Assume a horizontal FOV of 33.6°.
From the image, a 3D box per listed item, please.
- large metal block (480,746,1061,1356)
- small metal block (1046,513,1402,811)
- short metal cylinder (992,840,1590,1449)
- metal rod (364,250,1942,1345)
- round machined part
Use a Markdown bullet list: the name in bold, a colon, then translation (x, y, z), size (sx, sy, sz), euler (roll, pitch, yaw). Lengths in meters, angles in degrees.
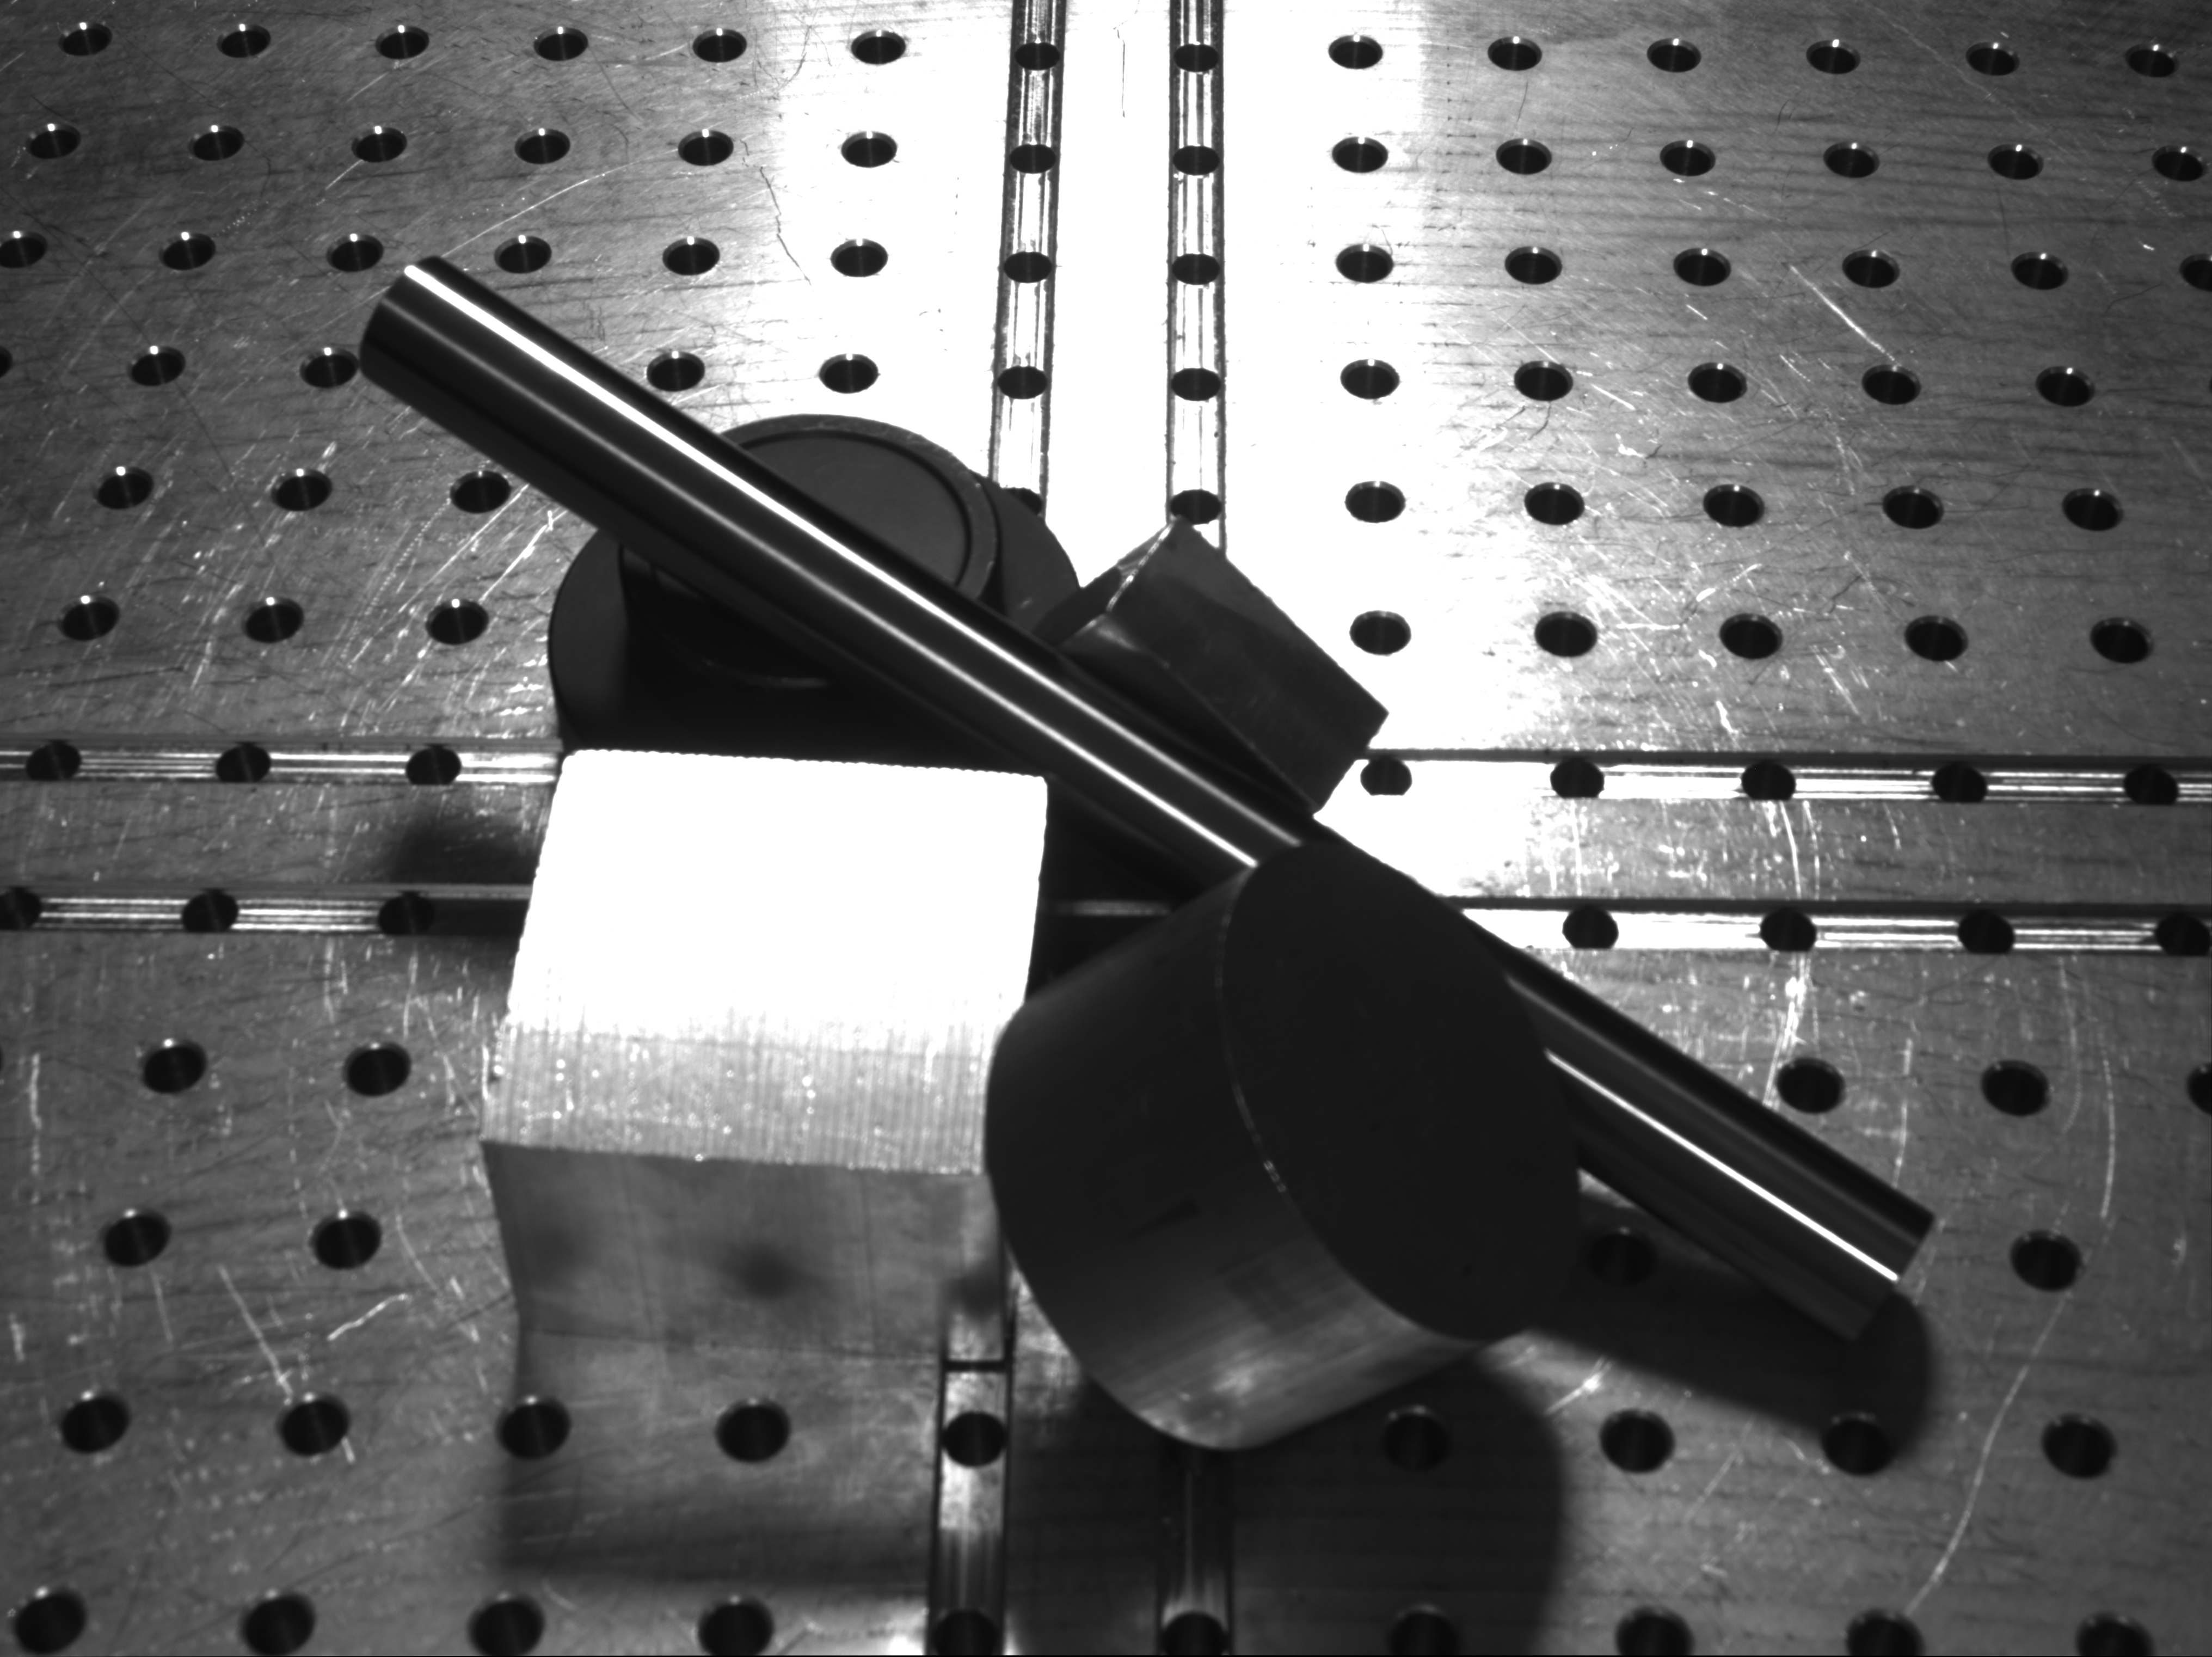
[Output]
- **large metal block**: translation (-0.051, 0.035, 0.596), size (0.080, 0.050, 0.080), euler (4, 50, 3)
- **small metal block**: translation (0.014, -0.021, 0.634), size (0.050, 0.050, 0.025), euler (42, 58, -10)
- **short metal cylinder**: translation (0.029, 0.049, 0.560), size (0.080, 0.050, 0.080), euler (30, 45, -35)
- **metal rod**: translation (0.003, -0.009, 0.610), size (0.300, 0.025, 0.025), euler (33, 56, 10)
- **round machined part**: translation (-0.051, -0.037, 0.665), size (0.098, 0.042, 0.098), euler (0, 50, 0)
